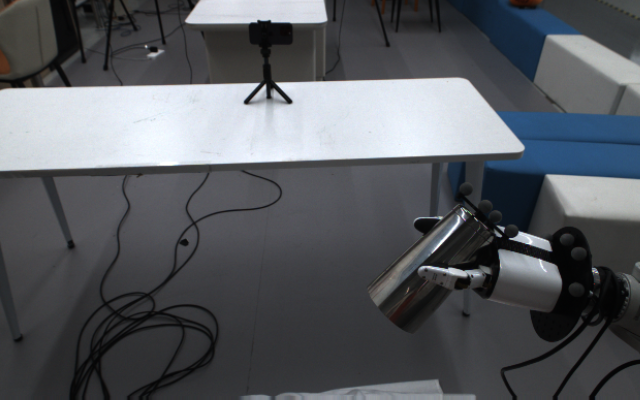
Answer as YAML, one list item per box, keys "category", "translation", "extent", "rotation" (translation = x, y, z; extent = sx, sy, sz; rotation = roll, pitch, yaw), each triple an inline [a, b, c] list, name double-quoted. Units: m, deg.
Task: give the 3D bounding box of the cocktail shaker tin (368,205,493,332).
- category: "cocktail shaker tin"
  translation: [0.155, 0.085, 0.660]
  extent: [0.093, 0.170, 0.093]
  rotation: [41, 12, -11]
